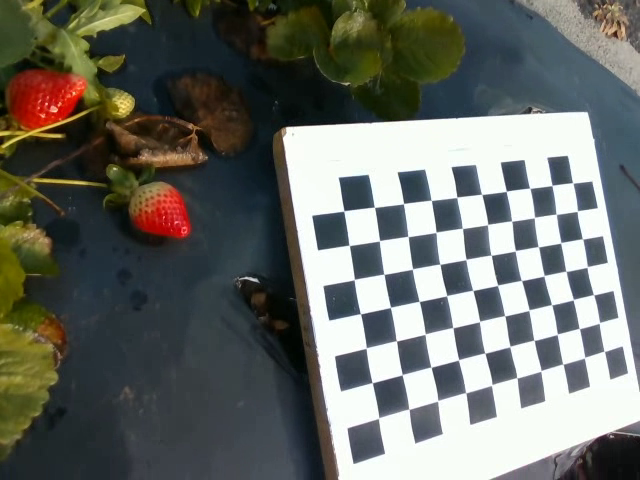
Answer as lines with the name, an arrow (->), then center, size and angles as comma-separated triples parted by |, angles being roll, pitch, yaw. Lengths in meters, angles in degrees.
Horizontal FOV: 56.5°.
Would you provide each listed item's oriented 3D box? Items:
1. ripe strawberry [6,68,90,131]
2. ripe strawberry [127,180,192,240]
ripe strawberry -> -0.152, -0.082, 0.329 | 0.048, 0.040, 0.031 | -21, 3, 16
ripe strawberry -> -0.094, -0.016, 0.350 | 0.035, 0.043, 0.029 | -49, 10, -23
